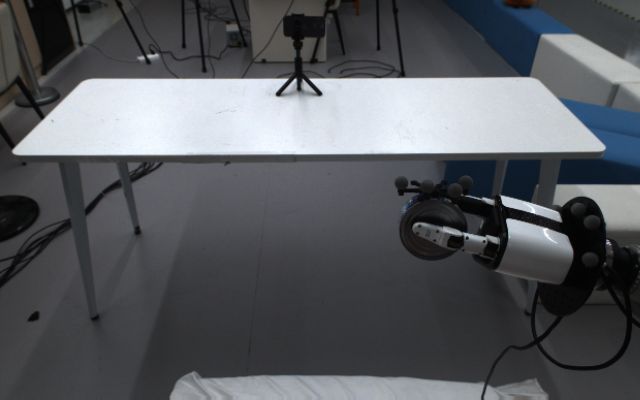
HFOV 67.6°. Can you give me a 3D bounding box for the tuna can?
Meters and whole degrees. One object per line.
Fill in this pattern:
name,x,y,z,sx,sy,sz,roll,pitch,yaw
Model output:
tuna can,0.147,0.033,0.631,0.085,0.085,0.034,5,17,3
